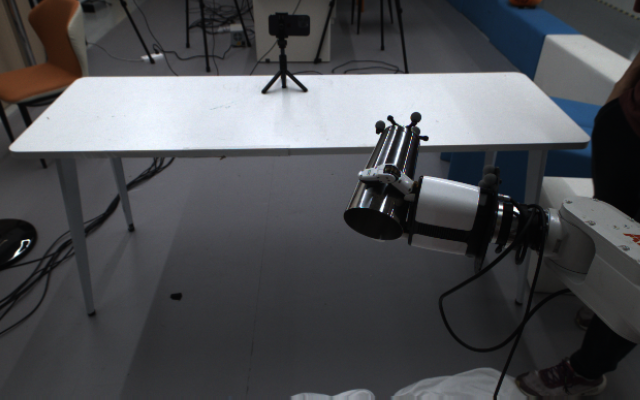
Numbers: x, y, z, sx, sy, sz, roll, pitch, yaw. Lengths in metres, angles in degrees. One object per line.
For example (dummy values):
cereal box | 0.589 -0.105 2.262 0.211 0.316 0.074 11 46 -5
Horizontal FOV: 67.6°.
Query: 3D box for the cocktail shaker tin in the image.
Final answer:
cocktail shaker tin | 0.104 -0.033 0.760 0.093 0.093 0.170 14 61 16
